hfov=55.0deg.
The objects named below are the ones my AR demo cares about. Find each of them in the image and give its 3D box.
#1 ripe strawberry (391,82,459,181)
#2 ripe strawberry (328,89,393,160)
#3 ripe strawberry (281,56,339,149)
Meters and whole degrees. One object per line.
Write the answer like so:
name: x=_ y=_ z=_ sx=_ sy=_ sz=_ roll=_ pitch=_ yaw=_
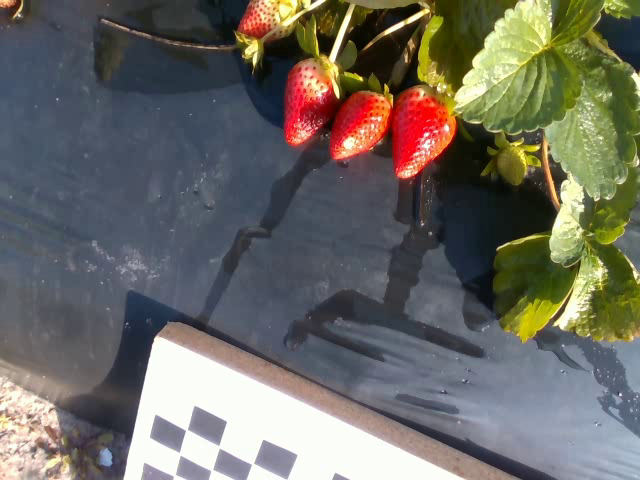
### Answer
ripe strawberry: x=0.044 y=-0.044 z=0.287 sx=0.035 sy=0.041 sz=0.033 roll=20 pitch=-22 yaw=11
ripe strawberry: x=0.017 y=-0.054 z=0.288 sx=0.031 sy=0.039 sz=0.036 roll=33 pitch=-34 yaw=4
ripe strawberry: x=-0.007 y=-0.067 z=0.299 sx=0.032 sy=0.045 sz=0.023 roll=24 pitch=15 yaw=9
